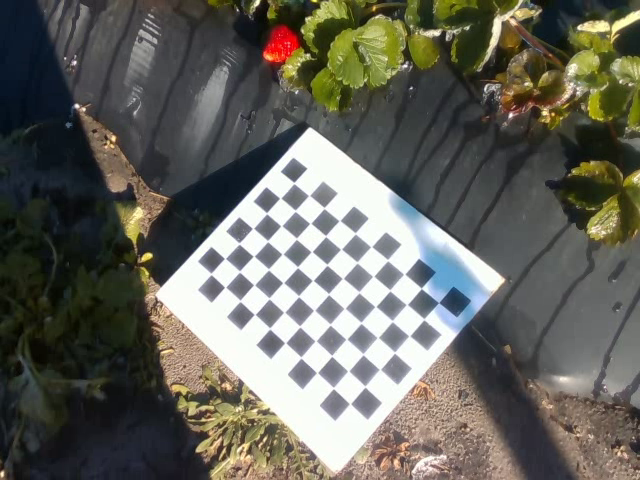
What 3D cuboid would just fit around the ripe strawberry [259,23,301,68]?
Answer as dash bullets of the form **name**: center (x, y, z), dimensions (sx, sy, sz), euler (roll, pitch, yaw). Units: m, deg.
- **ripe strawberry**: center (-0.041, -0.189, 0.592), dimensions (0.041, 0.047, 0.052), euler (33, 45, 15)
